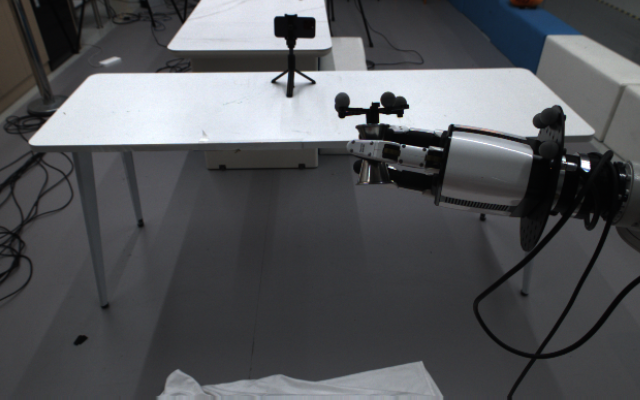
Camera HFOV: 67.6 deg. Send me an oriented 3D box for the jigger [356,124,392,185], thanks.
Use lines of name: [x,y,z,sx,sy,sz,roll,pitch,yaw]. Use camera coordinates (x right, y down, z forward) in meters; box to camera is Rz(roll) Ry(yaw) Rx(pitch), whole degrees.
jigger: [0.061,-0.052,0.564,0.043,0.071,0.043,-2,3,0]
